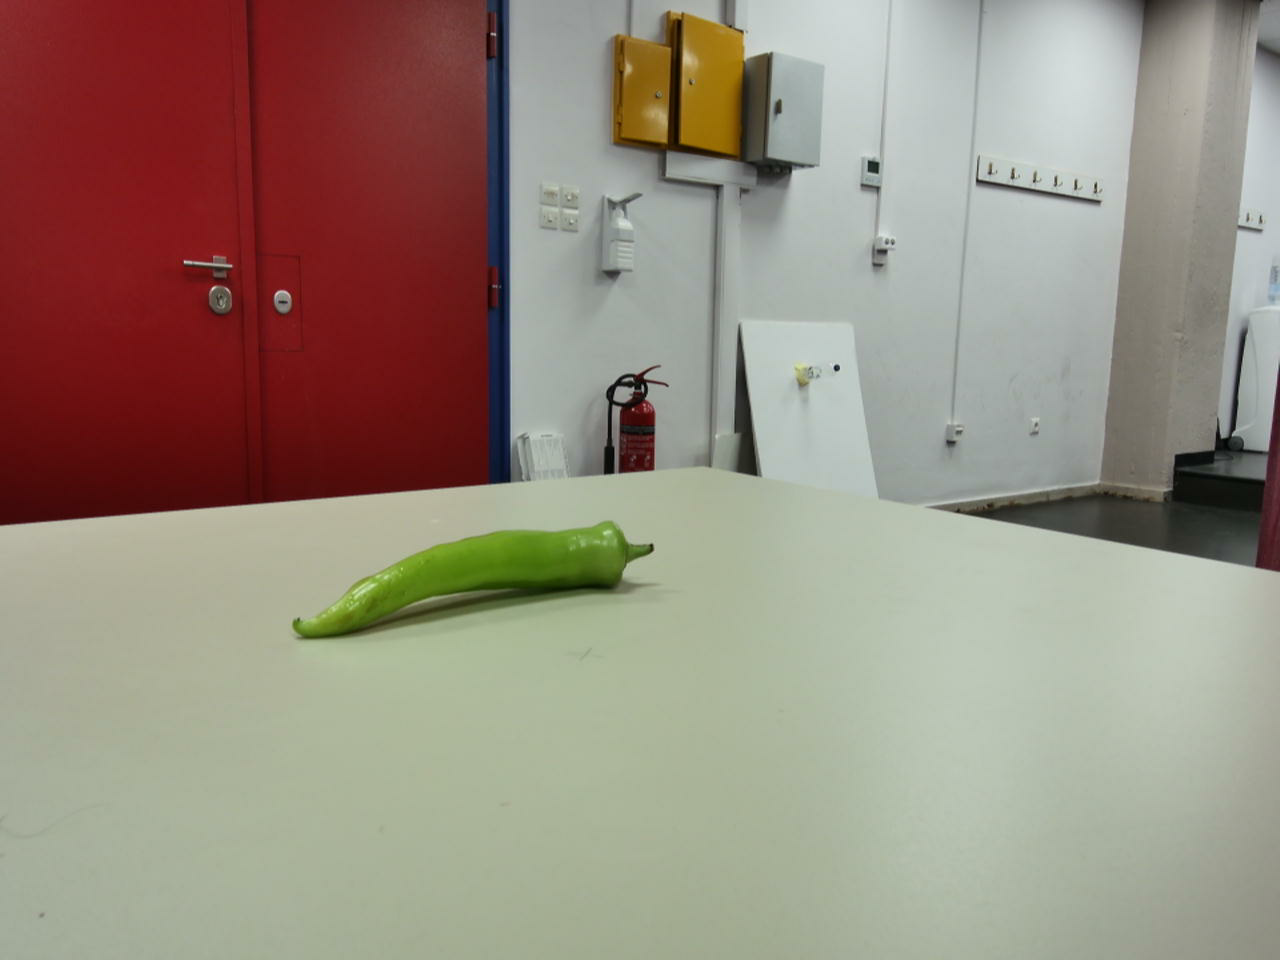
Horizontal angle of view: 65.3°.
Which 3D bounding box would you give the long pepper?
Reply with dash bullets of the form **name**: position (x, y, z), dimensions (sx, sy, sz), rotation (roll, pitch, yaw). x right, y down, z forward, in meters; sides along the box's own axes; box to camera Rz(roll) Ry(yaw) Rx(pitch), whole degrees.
- **long pepper**: position (-0.082, 0.046, 0.514), dimensions (0.197, 0.038, 0.047), rotation (-4, 8, -35)
